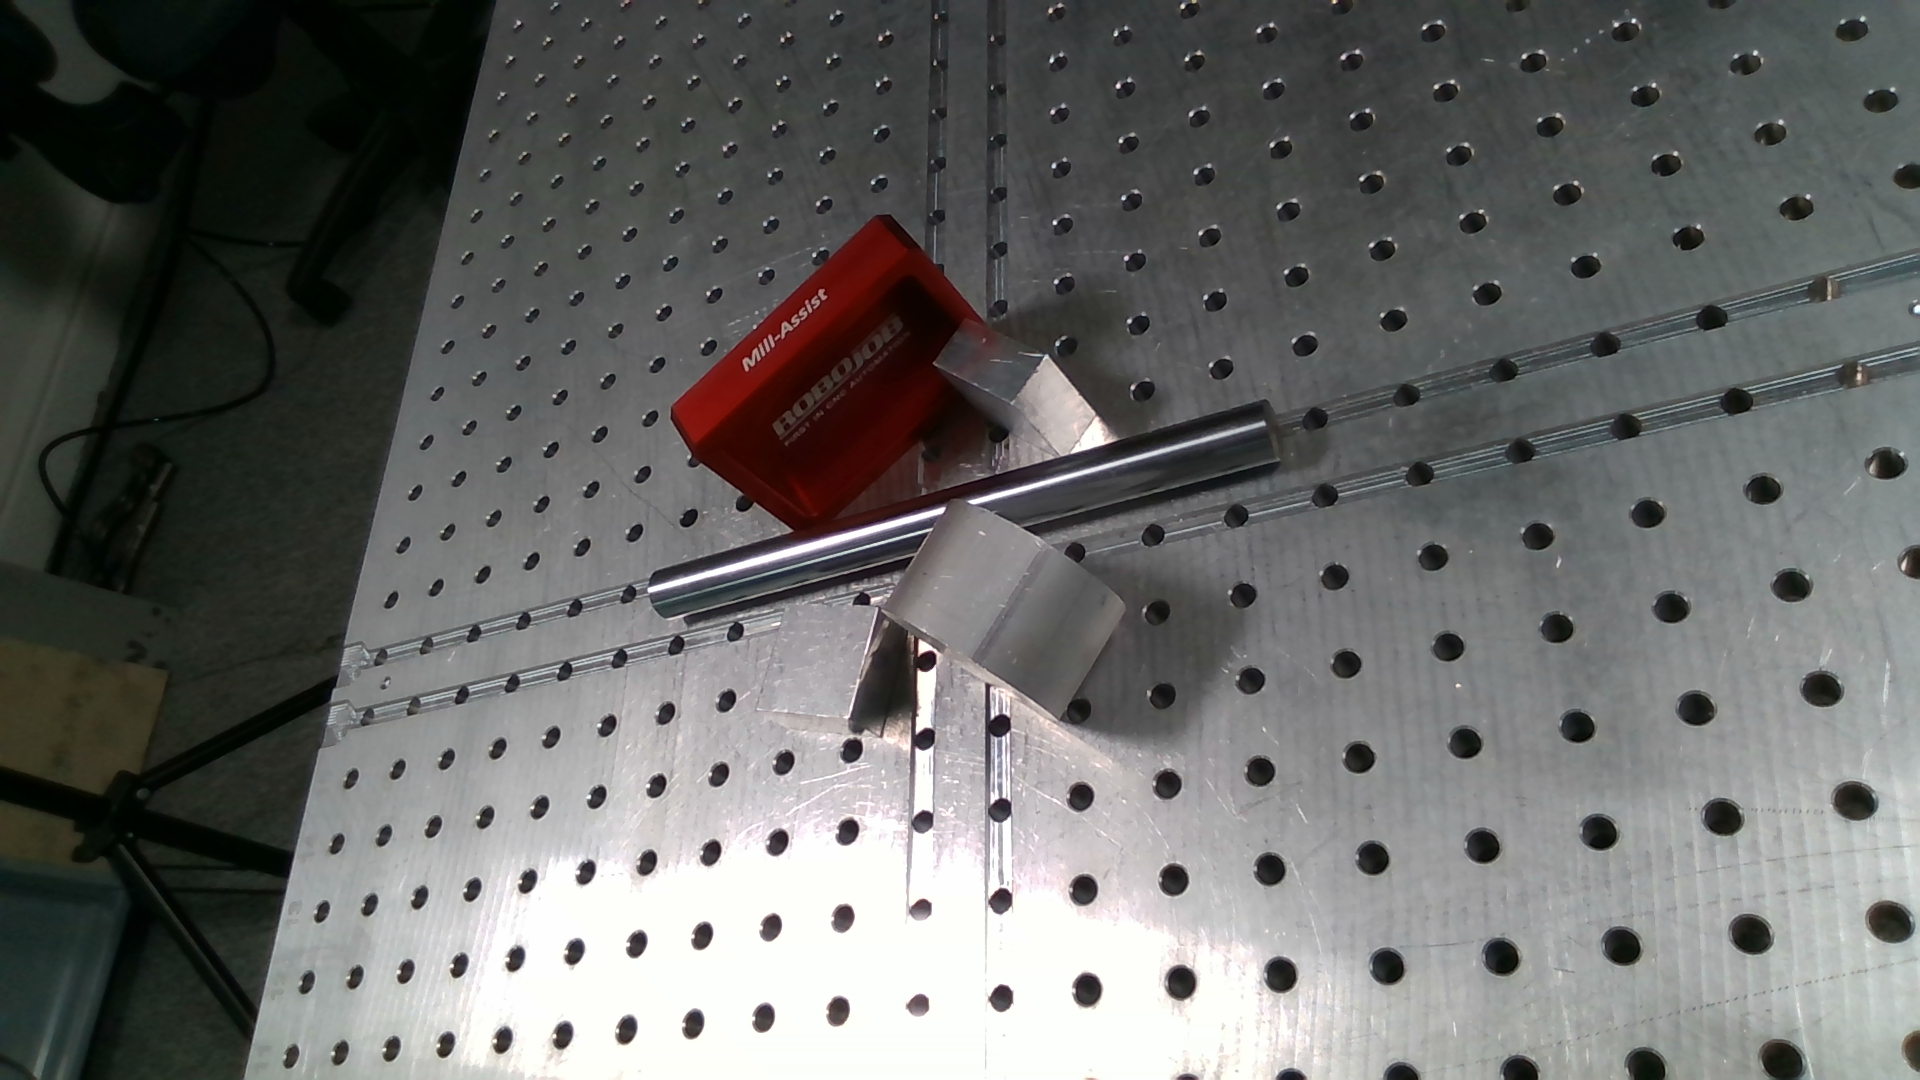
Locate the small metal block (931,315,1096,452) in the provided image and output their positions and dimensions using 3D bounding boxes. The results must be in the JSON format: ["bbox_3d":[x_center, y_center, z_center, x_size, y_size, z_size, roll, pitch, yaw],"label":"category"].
[{"bbox_3d":[0.023,-0.066,0.592,0.050,0.050,0.025,32,84,39],"label":"small metal block"}]

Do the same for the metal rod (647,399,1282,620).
[{"bbox_3d":[-0.010,-0.008,0.599,0.300,0.025,0.025,-15,59,25],"label":"metal rod"}]

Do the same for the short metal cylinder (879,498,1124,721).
[{"bbox_3d":[0.016,0.027,0.528,0.080,0.080,0.050,27,81,38],"label":"short metal cylinder"}]

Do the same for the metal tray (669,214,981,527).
[{"bbox_3d":[-0.053,-0.070,0.616,0.130,0.090,0.030,-42,51,6],"label":"metal tray"}]

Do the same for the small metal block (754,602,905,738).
[{"bbox_3d":[-0.055,0.056,0.594,0.050,0.025,0.050,1,66,32],"label":"small metal block"}]
